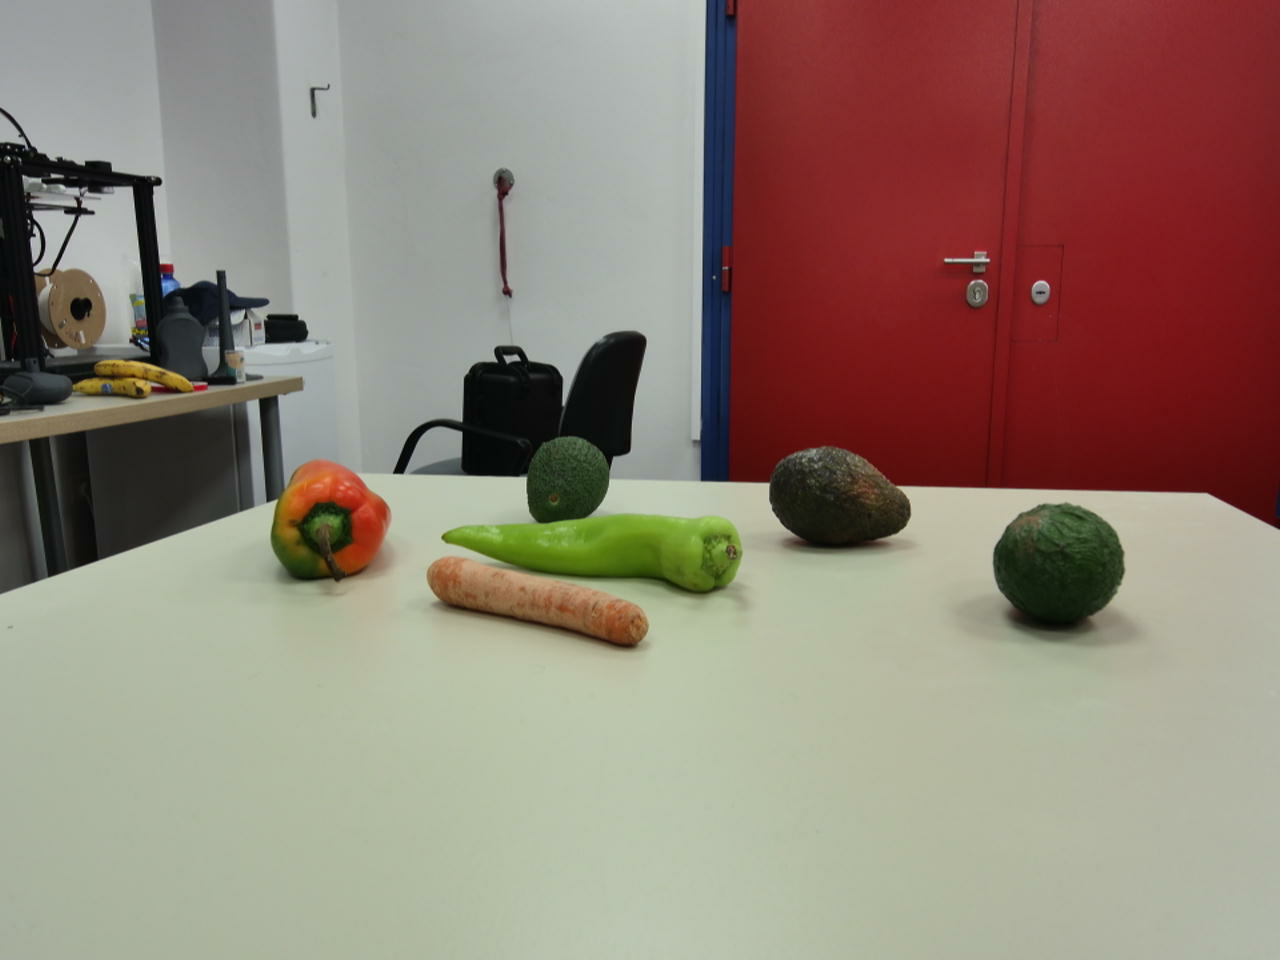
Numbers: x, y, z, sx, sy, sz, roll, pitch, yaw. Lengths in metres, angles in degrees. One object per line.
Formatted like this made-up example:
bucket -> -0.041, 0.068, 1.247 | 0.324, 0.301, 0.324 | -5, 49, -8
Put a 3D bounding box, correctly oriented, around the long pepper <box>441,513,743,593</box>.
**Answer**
long pepper -> -0.023, 0.040, 0.620 | 0.205, 0.045, 0.065 | 4, 8, 27
